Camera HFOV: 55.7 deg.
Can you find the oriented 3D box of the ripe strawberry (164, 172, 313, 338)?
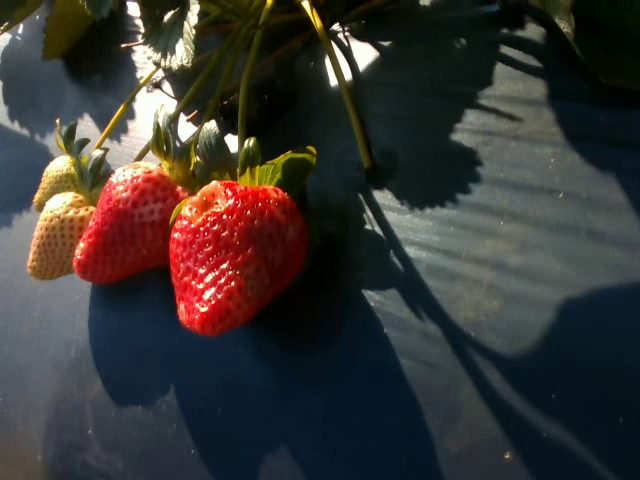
[{"bbox_3d":[-0.028,0.009,0.195,0.051,0.067,0.056,34,-52,-21],"label":"ripe strawberry"}]

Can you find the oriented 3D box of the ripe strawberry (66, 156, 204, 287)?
[{"bbox_3d":[-0.070,-0.006,0.226,0.050,0.061,0.044,41,-13,16],"label":"ripe strawberry"}]
